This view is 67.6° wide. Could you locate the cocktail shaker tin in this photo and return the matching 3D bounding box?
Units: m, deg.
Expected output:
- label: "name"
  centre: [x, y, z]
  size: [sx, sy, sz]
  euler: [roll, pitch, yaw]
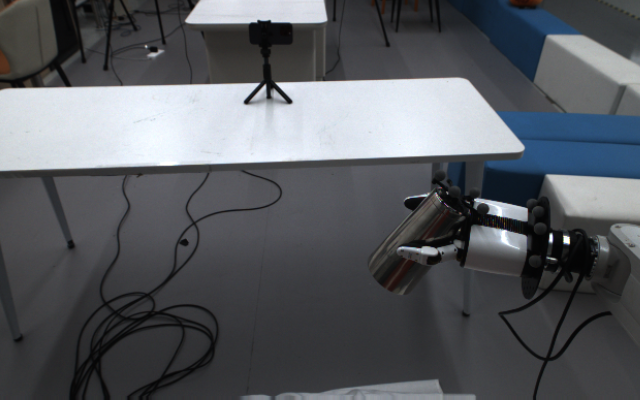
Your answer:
- label: "cocktail shaker tin"
  centre: [0.160, 0.057, 0.775]
  size: [0.093, 0.170, 0.093]
  euler: [26, 32, -18]
